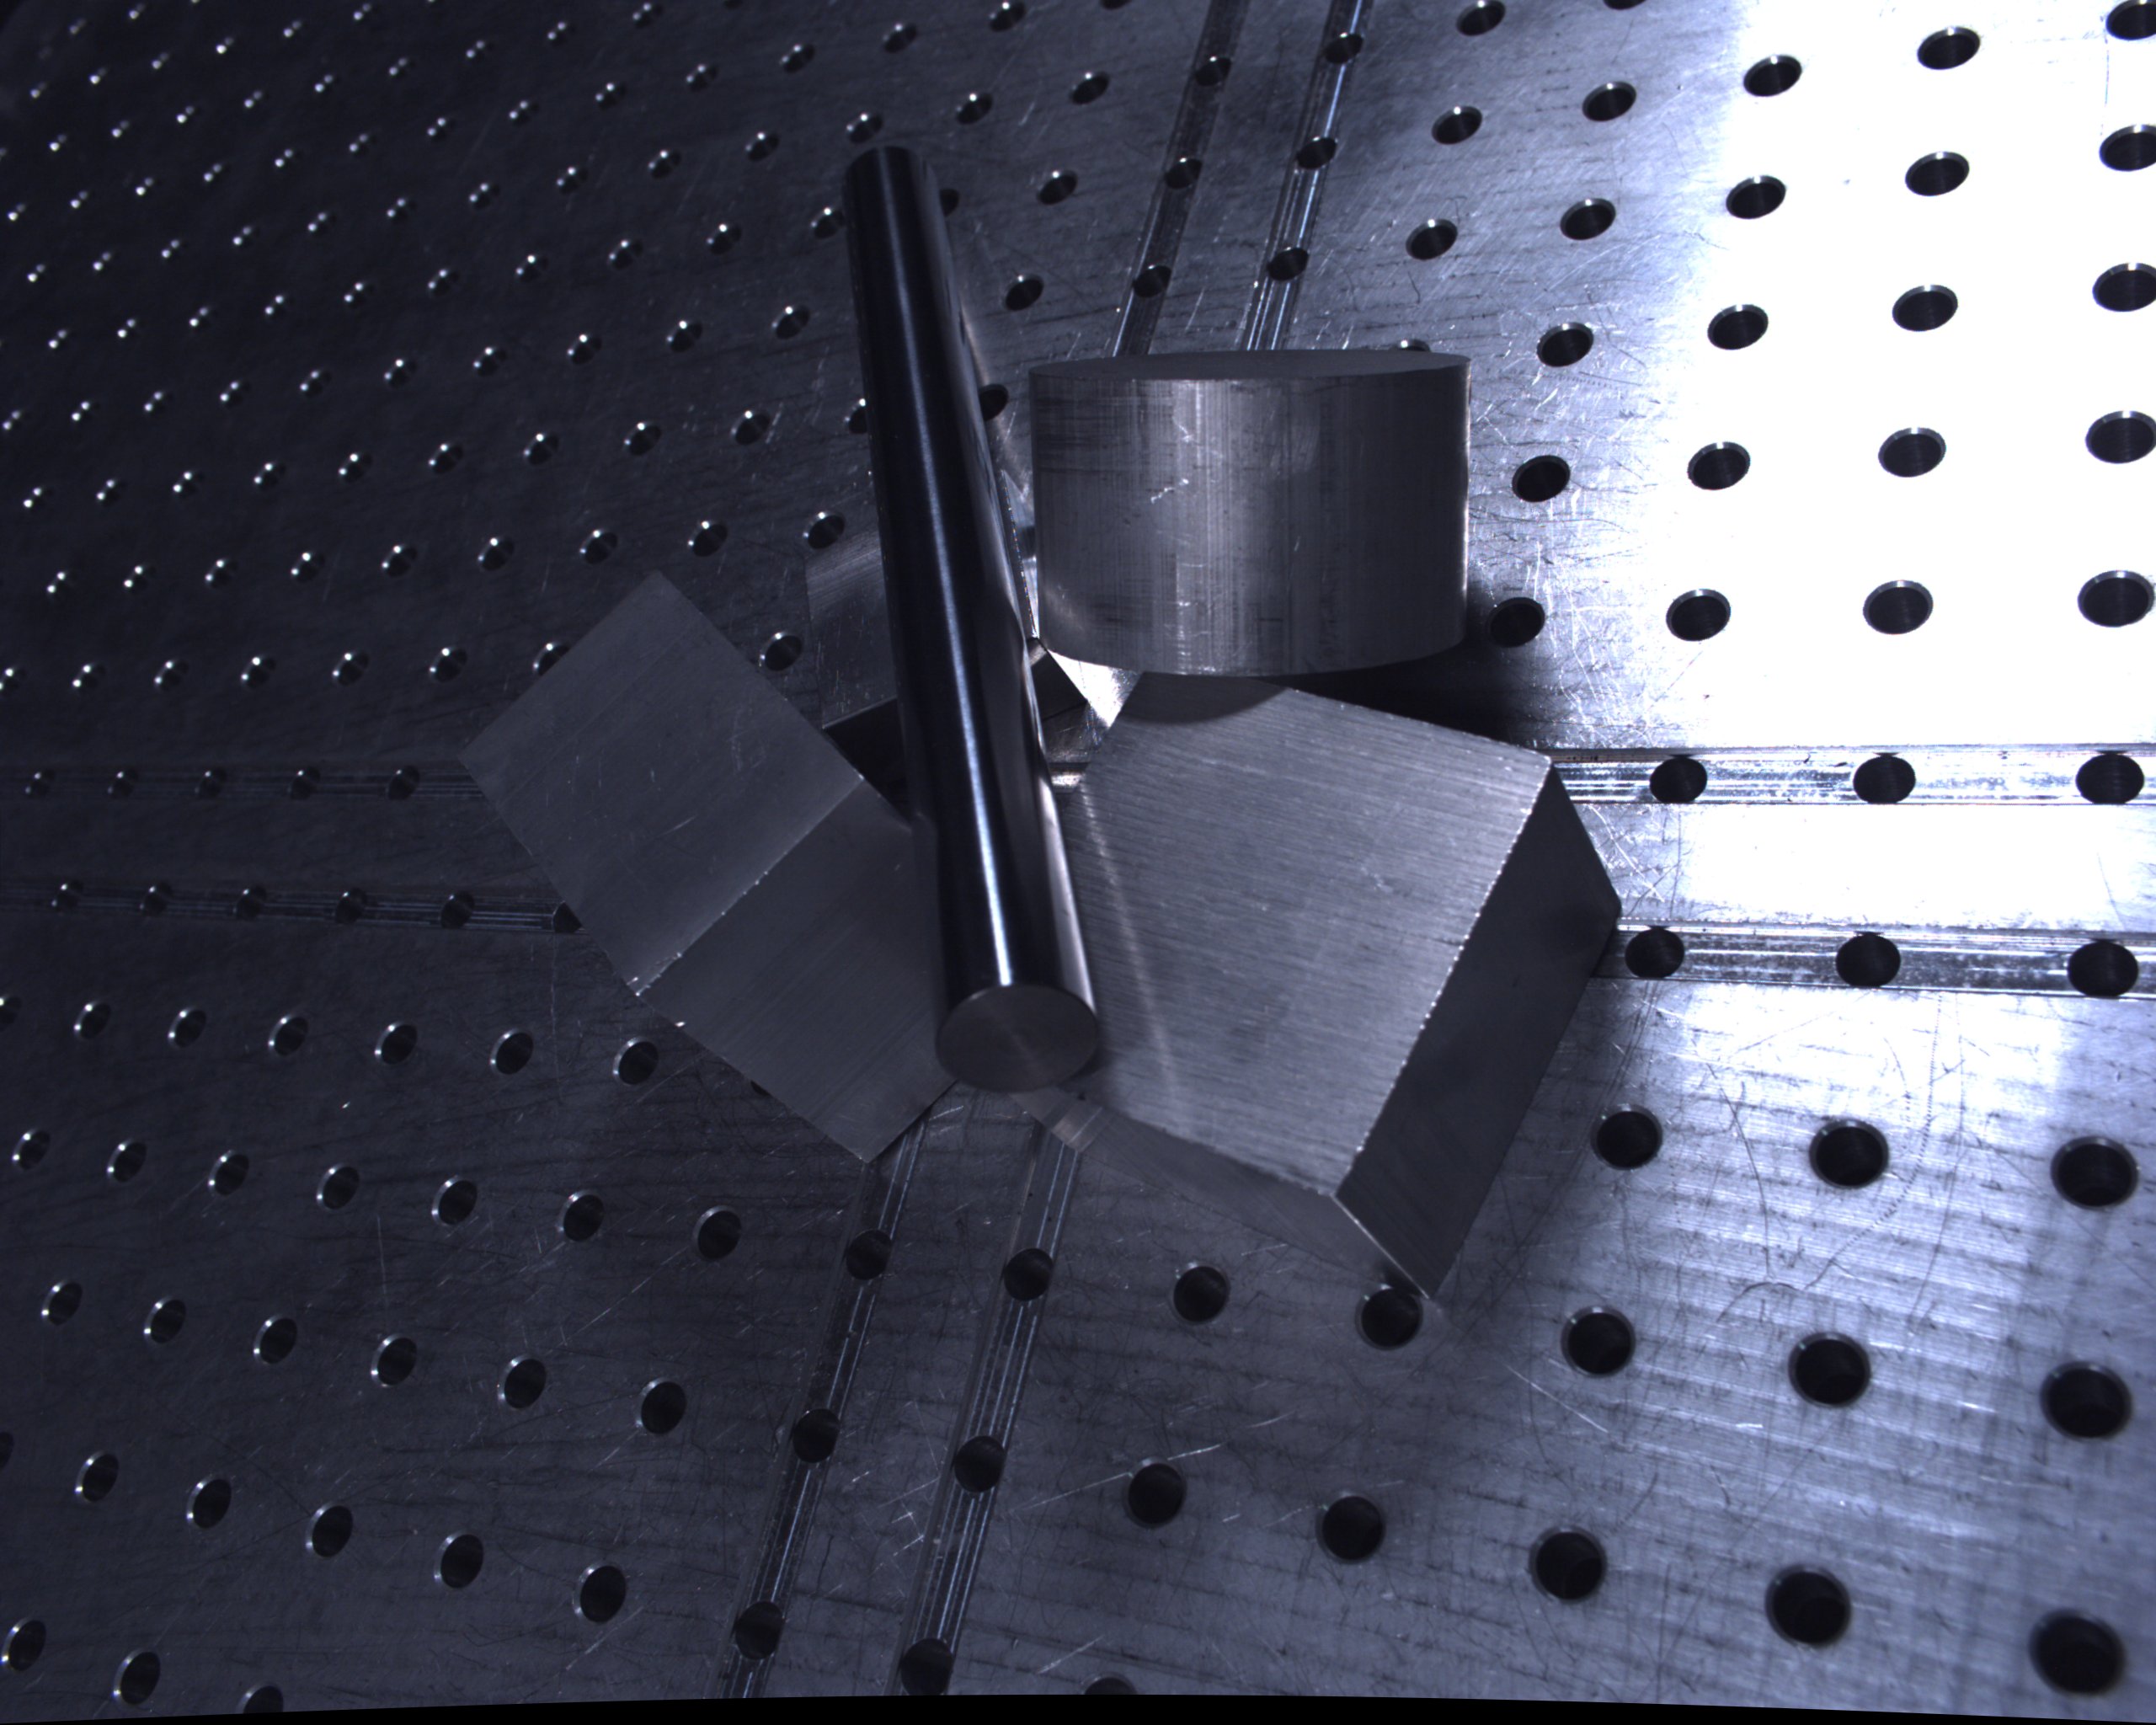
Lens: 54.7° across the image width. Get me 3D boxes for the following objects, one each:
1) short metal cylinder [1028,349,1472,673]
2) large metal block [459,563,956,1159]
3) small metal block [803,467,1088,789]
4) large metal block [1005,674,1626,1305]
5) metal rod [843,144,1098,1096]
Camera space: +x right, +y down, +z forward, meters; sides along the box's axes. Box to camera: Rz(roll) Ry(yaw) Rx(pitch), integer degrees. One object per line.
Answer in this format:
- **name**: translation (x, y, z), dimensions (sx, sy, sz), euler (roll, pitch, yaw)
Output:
- **short metal cylinder**: translation (0.032, -0.068, 0.388), dimensions (0.080, 0.081, 0.050), euler (9, 110, 32)
- **large metal block**: translation (-0.060, 0.000, 0.402), dimensions (0.050, 0.080, 0.080), euler (-45, 51, -3)
- **small metal block**: translation (-0.030, -0.051, 0.454), dimensions (0.050, 0.025, 0.050), euler (-22, 54, 14)
- **large metal block**: translation (0.036, 0.018, 0.361), dimensions (0.080, 0.050, 0.080), euler (19, 72, 35)
- **metal rod**: translation (-0.029, -0.073, 0.428), dimensions (0.025, 0.025, 0.300), euler (-25, 41, 13)
